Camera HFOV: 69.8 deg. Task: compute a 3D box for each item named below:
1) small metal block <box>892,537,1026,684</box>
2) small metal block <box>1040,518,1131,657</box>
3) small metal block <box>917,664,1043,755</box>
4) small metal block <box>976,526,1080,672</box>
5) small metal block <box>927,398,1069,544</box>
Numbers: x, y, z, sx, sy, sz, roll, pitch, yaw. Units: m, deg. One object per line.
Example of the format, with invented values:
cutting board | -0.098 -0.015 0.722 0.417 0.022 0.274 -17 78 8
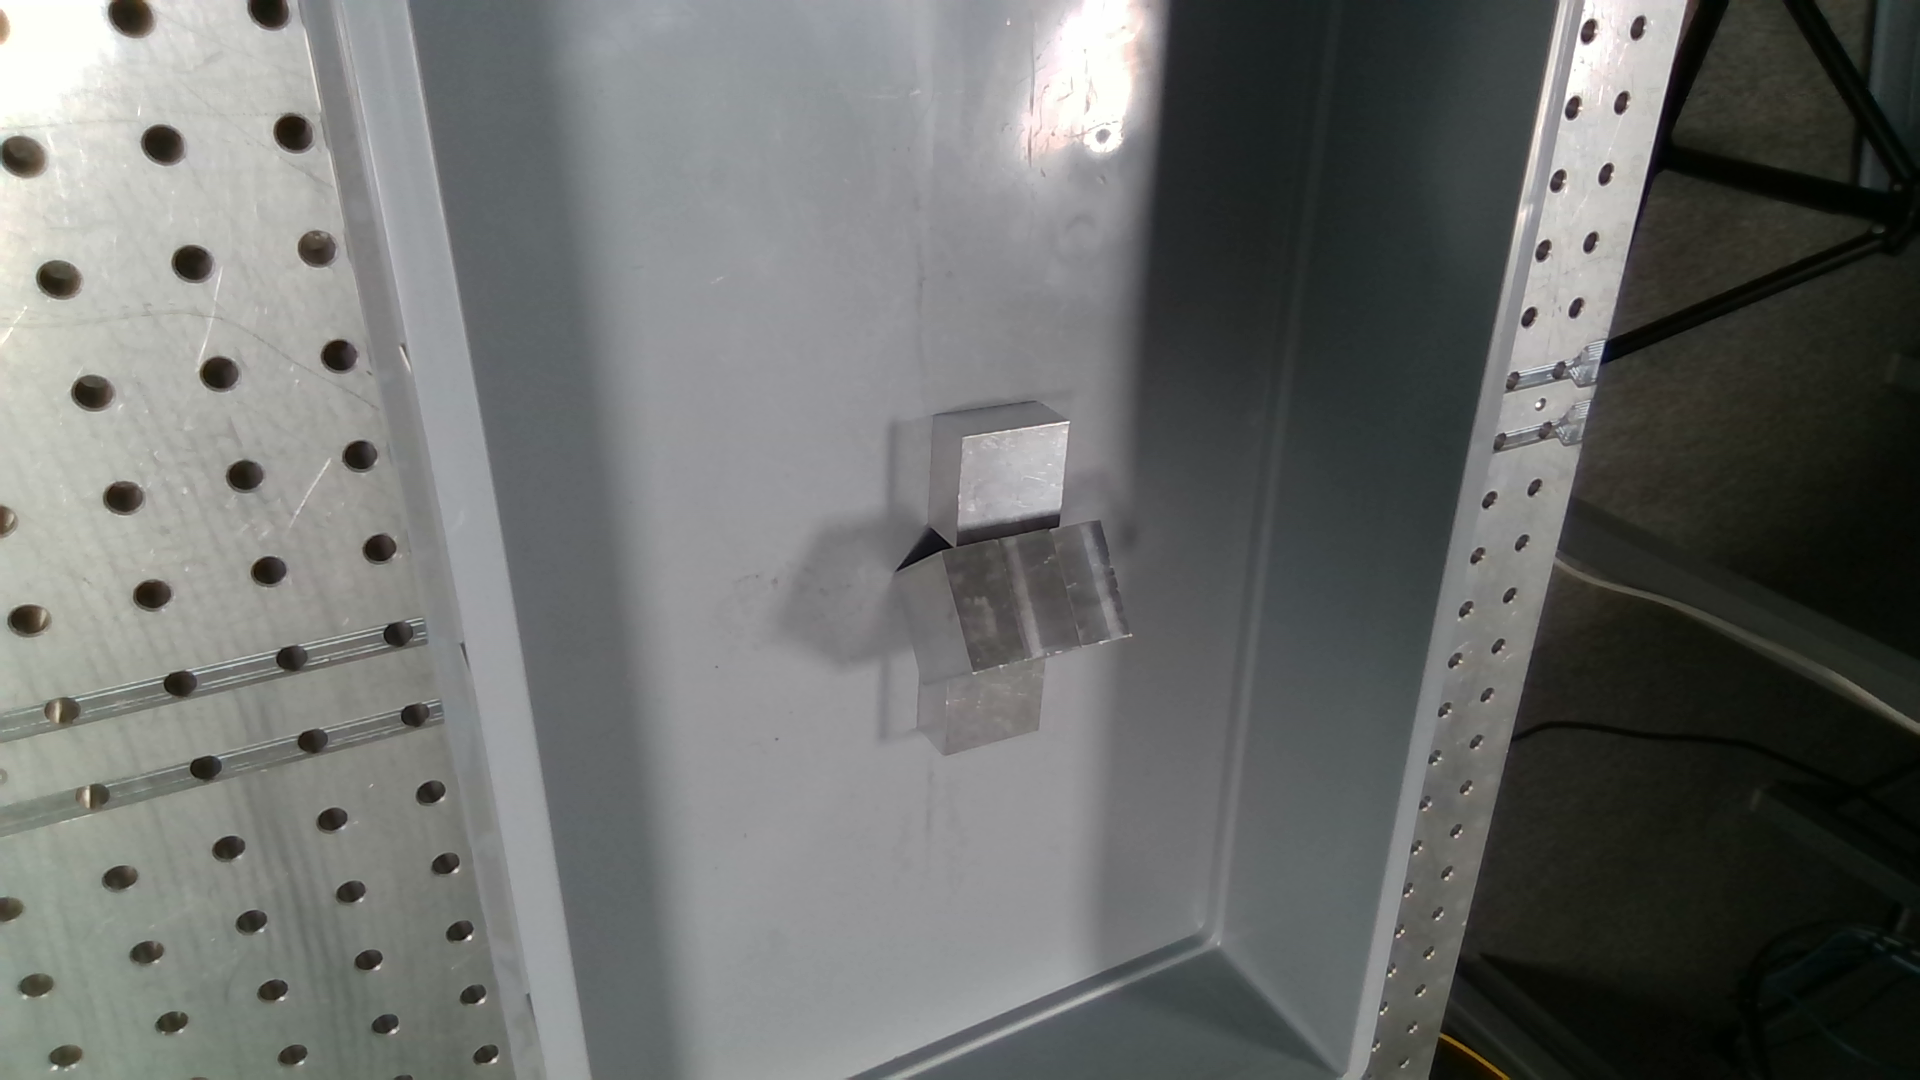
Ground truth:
small metal block | -0.001 0.030 0.565 0.025 0.050 0.050 -12 84 -27
small metal block | 0.043 0.022 0.588 0.025 0.050 0.050 -11 84 -27
small metal block | 0.009 0.064 0.620 0.050 0.025 0.050 -11 120 -26
small metal block | 0.021 0.026 0.577 0.025 0.050 0.050 -12 84 -27
small metal block | 0.015 -0.028 0.573 0.050 0.025 0.050 -11 120 -27
